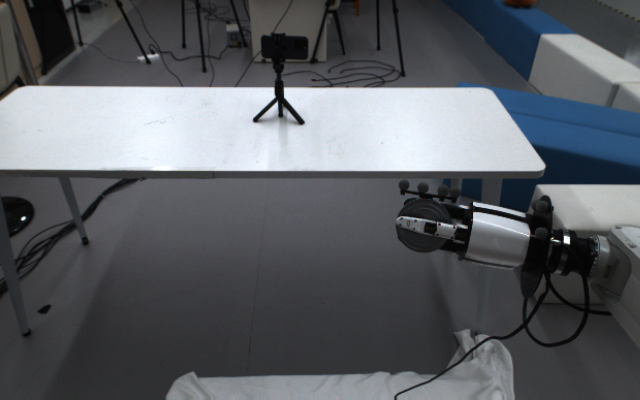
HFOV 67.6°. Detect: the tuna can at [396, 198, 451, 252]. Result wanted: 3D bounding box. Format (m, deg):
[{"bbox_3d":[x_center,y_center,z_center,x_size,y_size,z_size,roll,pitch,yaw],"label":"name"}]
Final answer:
[{"bbox_3d":[0.165,0.035,0.766,0.085,0.085,0.034,11,2,12],"label":"tuna can"}]
